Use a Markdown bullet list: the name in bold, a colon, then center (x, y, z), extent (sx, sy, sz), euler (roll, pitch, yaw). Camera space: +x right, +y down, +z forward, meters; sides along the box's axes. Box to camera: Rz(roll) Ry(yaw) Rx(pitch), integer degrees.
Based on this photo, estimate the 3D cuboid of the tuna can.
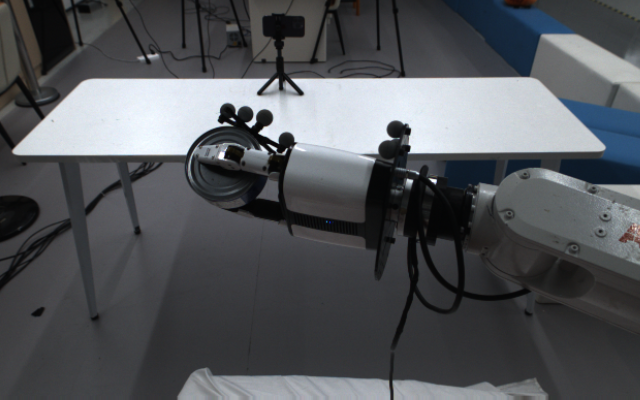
- **tuna can**: center (-0.099, -0.035, 0.529), extent (0.085, 0.034, 0.085), euler (-2, 71, 6)
